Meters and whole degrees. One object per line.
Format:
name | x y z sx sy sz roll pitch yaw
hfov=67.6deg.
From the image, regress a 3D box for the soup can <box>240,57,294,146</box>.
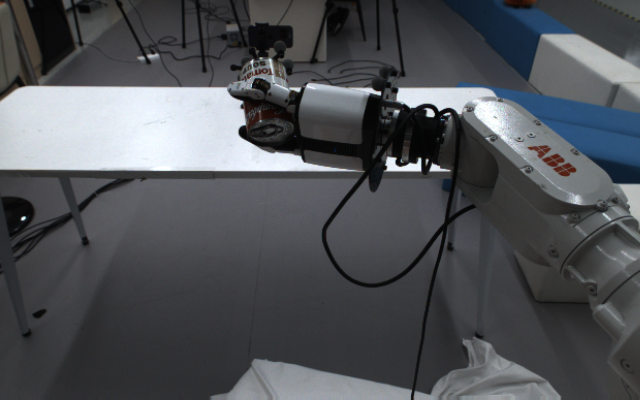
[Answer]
soup can | -0.072 -0.133 0.662 0.067 0.067 0.101 -6 67 -12
